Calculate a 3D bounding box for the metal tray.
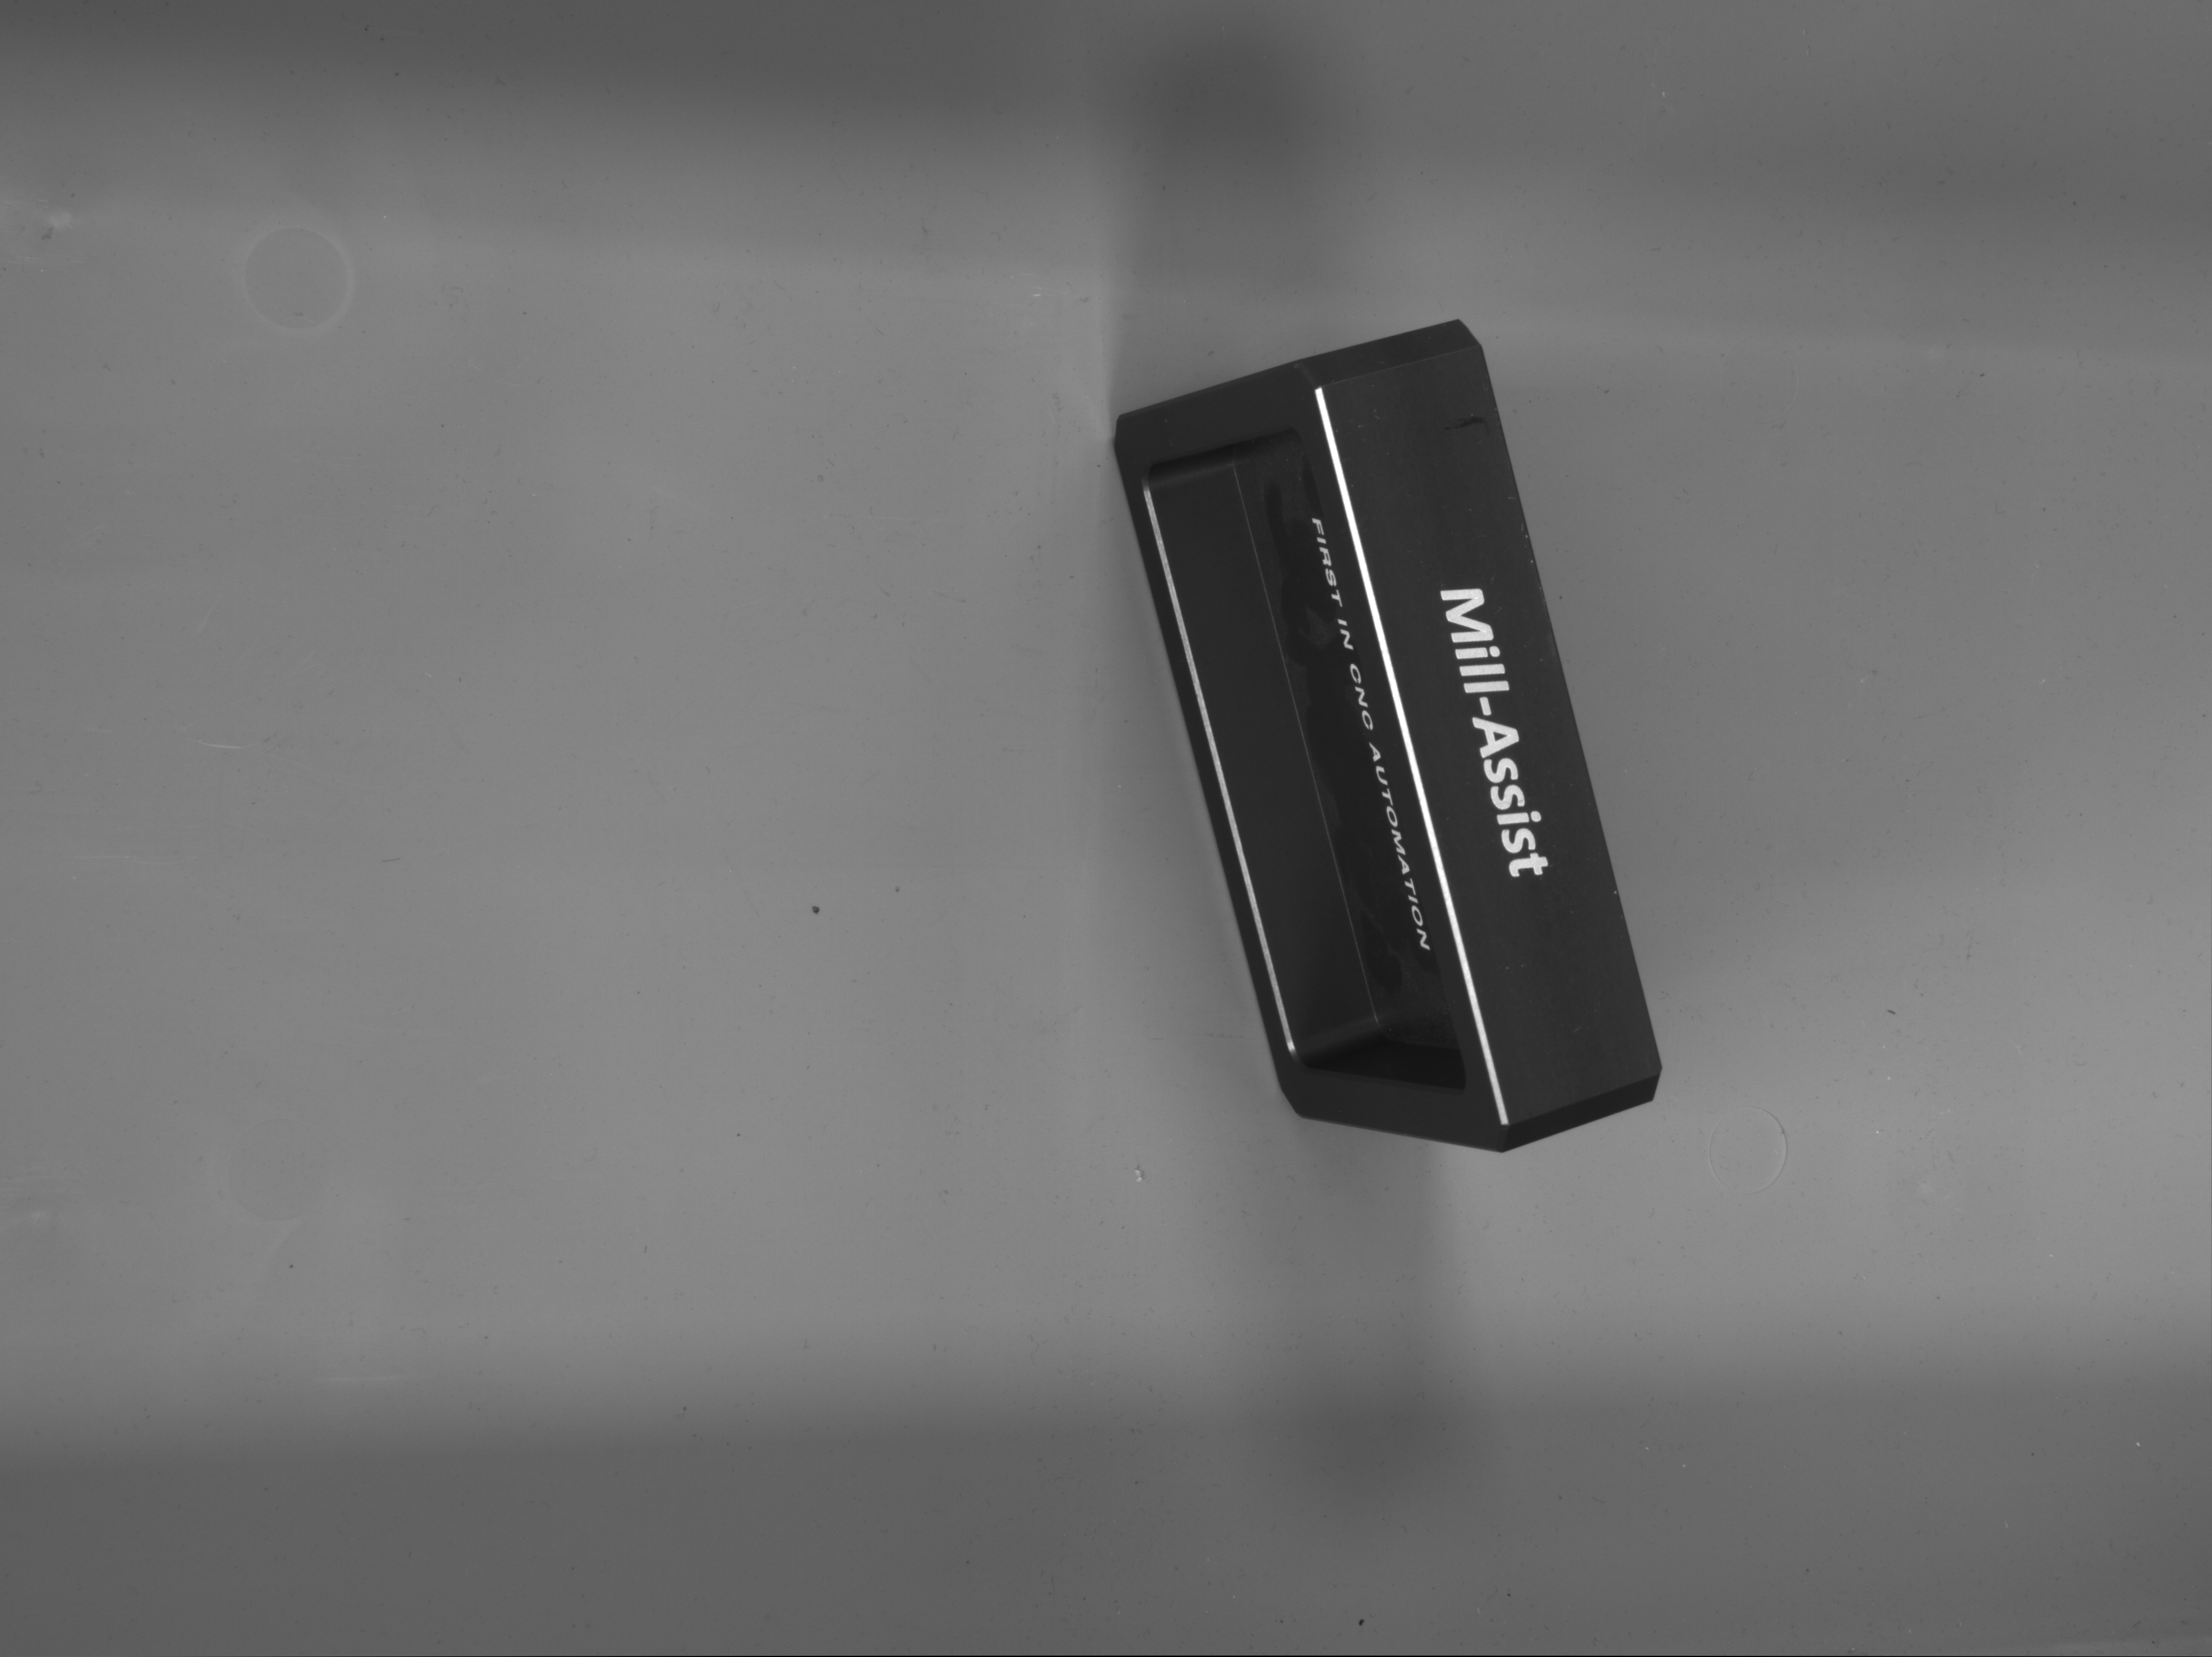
[{"bbox_3d":[0.045,-0.014,0.623,0.030,0.090,0.130,-17,96,-20],"label":"metal tray"}]
